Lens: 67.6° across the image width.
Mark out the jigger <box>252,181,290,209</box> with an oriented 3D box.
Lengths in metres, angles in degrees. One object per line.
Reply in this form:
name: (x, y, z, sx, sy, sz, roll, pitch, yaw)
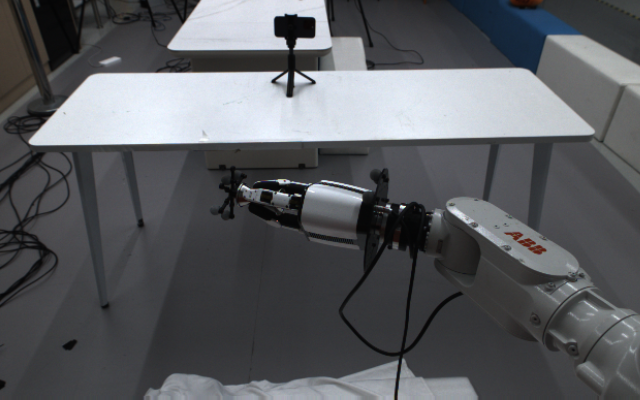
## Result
jigger: (-0.087, -0.006, 0.759, 0.071, 0.043, 0.043, 10, 35, 16)
